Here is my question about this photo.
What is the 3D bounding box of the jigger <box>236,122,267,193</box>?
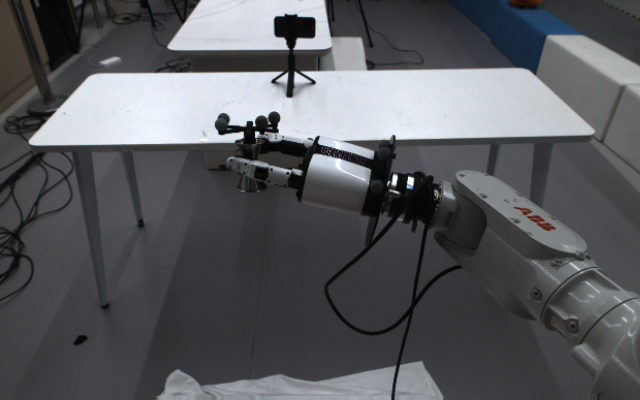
[{"bbox_3d":[-0.097,-0.049,0.676,0.043,0.071,0.043,0,21,0],"label":"jigger"}]
